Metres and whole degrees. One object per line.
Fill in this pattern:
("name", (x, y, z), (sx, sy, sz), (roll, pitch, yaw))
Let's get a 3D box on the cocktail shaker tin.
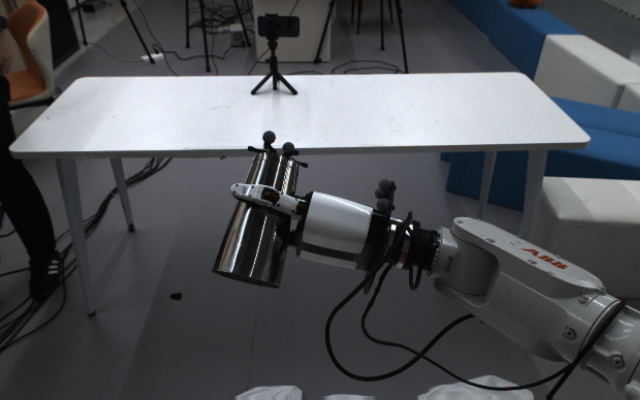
("cocktail shaker tin", (-0.080, 0.027, 0.660), (0.093, 0.093, 0.170), (10, 74, 12))
